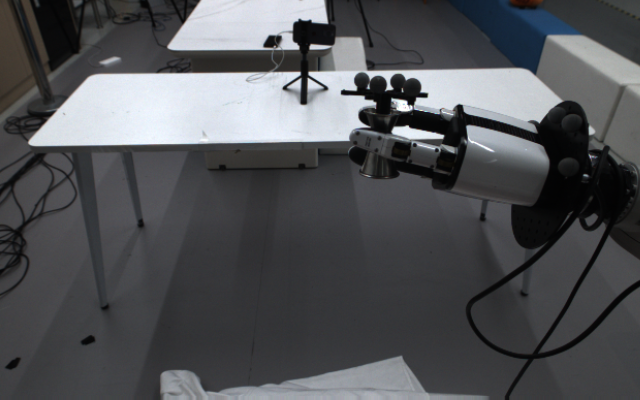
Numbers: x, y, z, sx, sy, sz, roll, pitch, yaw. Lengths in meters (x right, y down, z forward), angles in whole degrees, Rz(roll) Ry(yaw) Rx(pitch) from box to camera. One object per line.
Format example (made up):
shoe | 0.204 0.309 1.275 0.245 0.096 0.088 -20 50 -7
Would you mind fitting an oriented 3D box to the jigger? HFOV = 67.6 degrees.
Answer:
jigger | 0.064 -0.061 0.521 0.043 0.071 0.043 1 20 0
